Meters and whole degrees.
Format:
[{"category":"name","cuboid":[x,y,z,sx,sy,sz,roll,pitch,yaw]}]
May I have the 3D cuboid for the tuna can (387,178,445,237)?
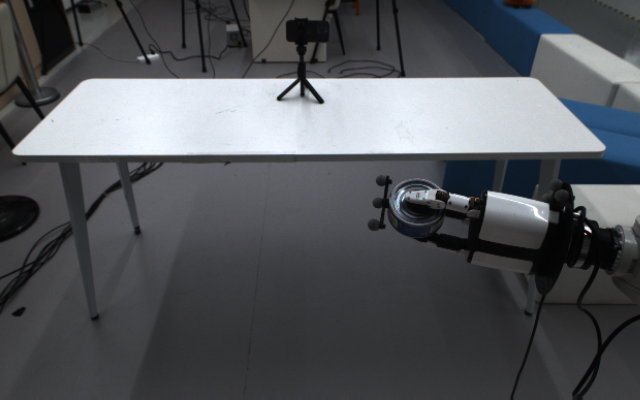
[{"category":"tuna can","cuboid":[0.145,0.009,0.718,0.085,0.034,0.085,-2,57,3]}]
